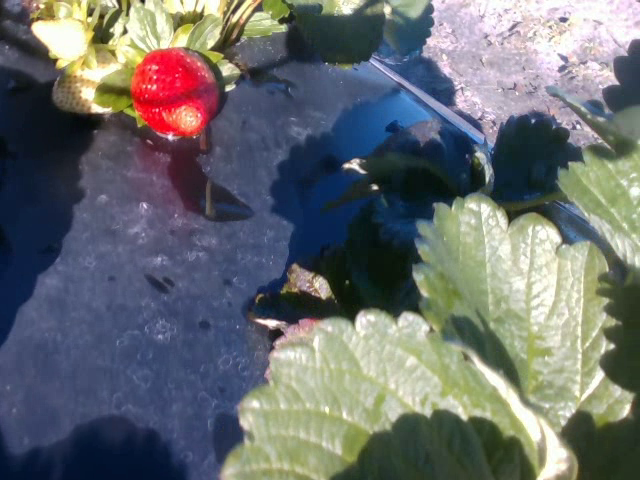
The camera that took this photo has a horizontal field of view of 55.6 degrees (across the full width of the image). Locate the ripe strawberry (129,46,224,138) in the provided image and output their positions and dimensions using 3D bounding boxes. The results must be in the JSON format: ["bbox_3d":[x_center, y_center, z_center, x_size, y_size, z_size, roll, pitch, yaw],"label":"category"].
[{"bbox_3d":[-0.064,-0.062,0.283,0.064,0.049,0.052,52,-2,44],"label":"ripe strawberry"}]
